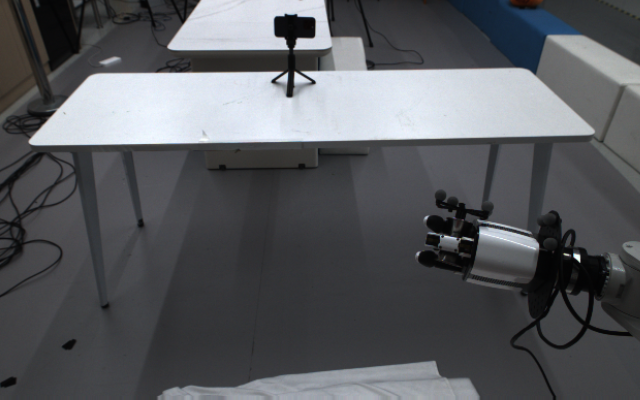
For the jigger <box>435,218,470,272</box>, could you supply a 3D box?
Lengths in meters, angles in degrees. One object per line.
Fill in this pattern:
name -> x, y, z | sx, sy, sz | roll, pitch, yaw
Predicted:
jigger -> 0.206, 0.063, 0.736 | 0.043, 0.071, 0.043 | 16, -7, 2
